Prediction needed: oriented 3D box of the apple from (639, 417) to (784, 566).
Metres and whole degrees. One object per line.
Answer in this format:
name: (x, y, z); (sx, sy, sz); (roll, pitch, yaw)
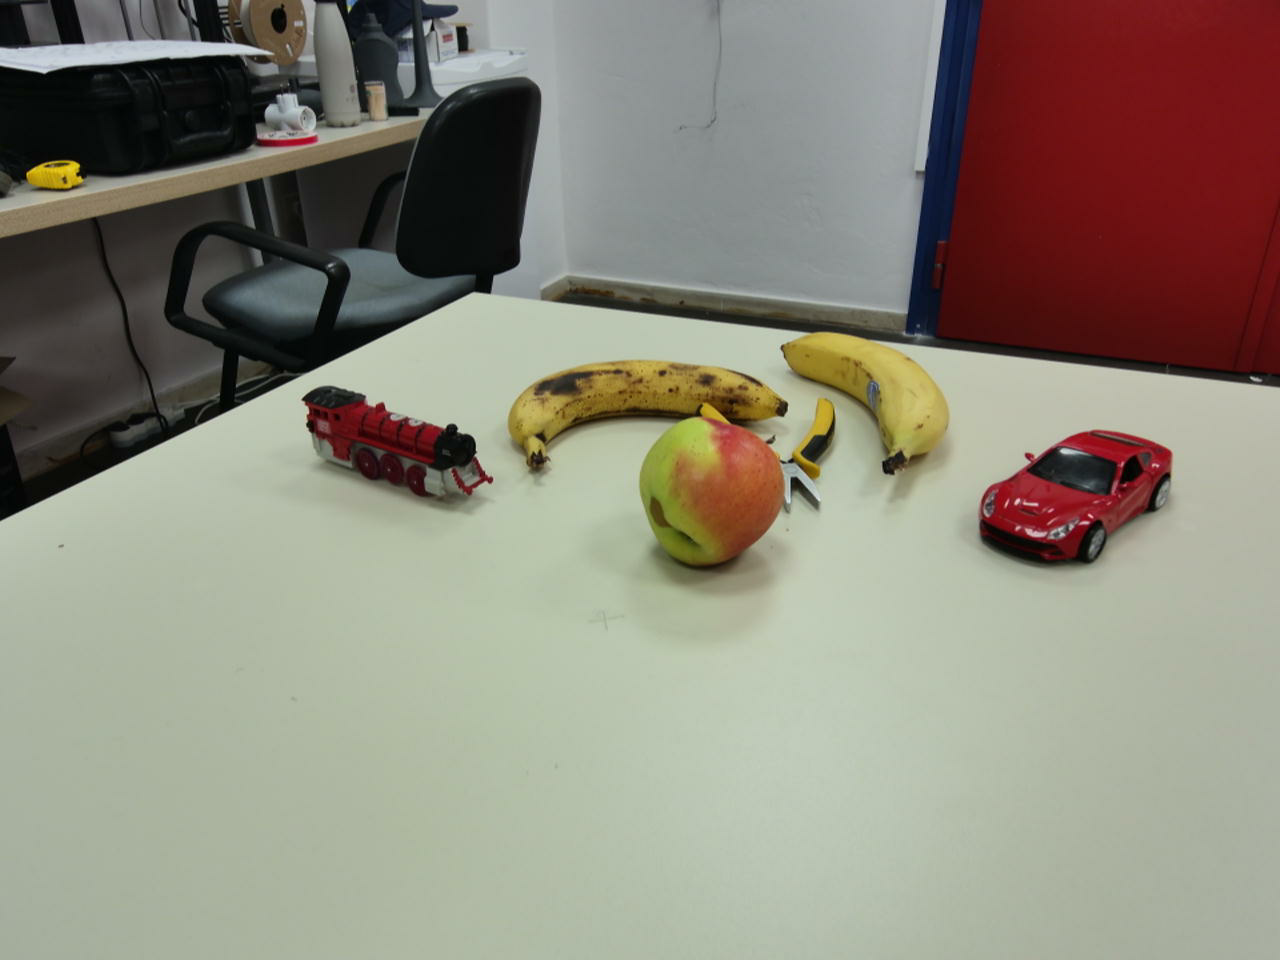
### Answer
apple: (0.037, 0.006, 0.520); (0.075, 0.074, 0.075); (1, 25, 4)
